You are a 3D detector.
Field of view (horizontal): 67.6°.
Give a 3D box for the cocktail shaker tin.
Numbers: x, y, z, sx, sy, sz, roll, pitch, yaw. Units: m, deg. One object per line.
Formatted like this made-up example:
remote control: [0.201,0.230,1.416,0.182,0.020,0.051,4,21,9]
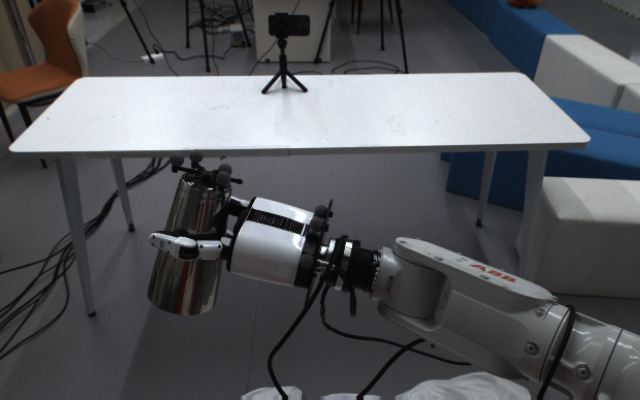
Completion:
cocktail shaker tin: [-0.166,0.053,0.635,0.093,0.170,0.093,15,17,-5]
